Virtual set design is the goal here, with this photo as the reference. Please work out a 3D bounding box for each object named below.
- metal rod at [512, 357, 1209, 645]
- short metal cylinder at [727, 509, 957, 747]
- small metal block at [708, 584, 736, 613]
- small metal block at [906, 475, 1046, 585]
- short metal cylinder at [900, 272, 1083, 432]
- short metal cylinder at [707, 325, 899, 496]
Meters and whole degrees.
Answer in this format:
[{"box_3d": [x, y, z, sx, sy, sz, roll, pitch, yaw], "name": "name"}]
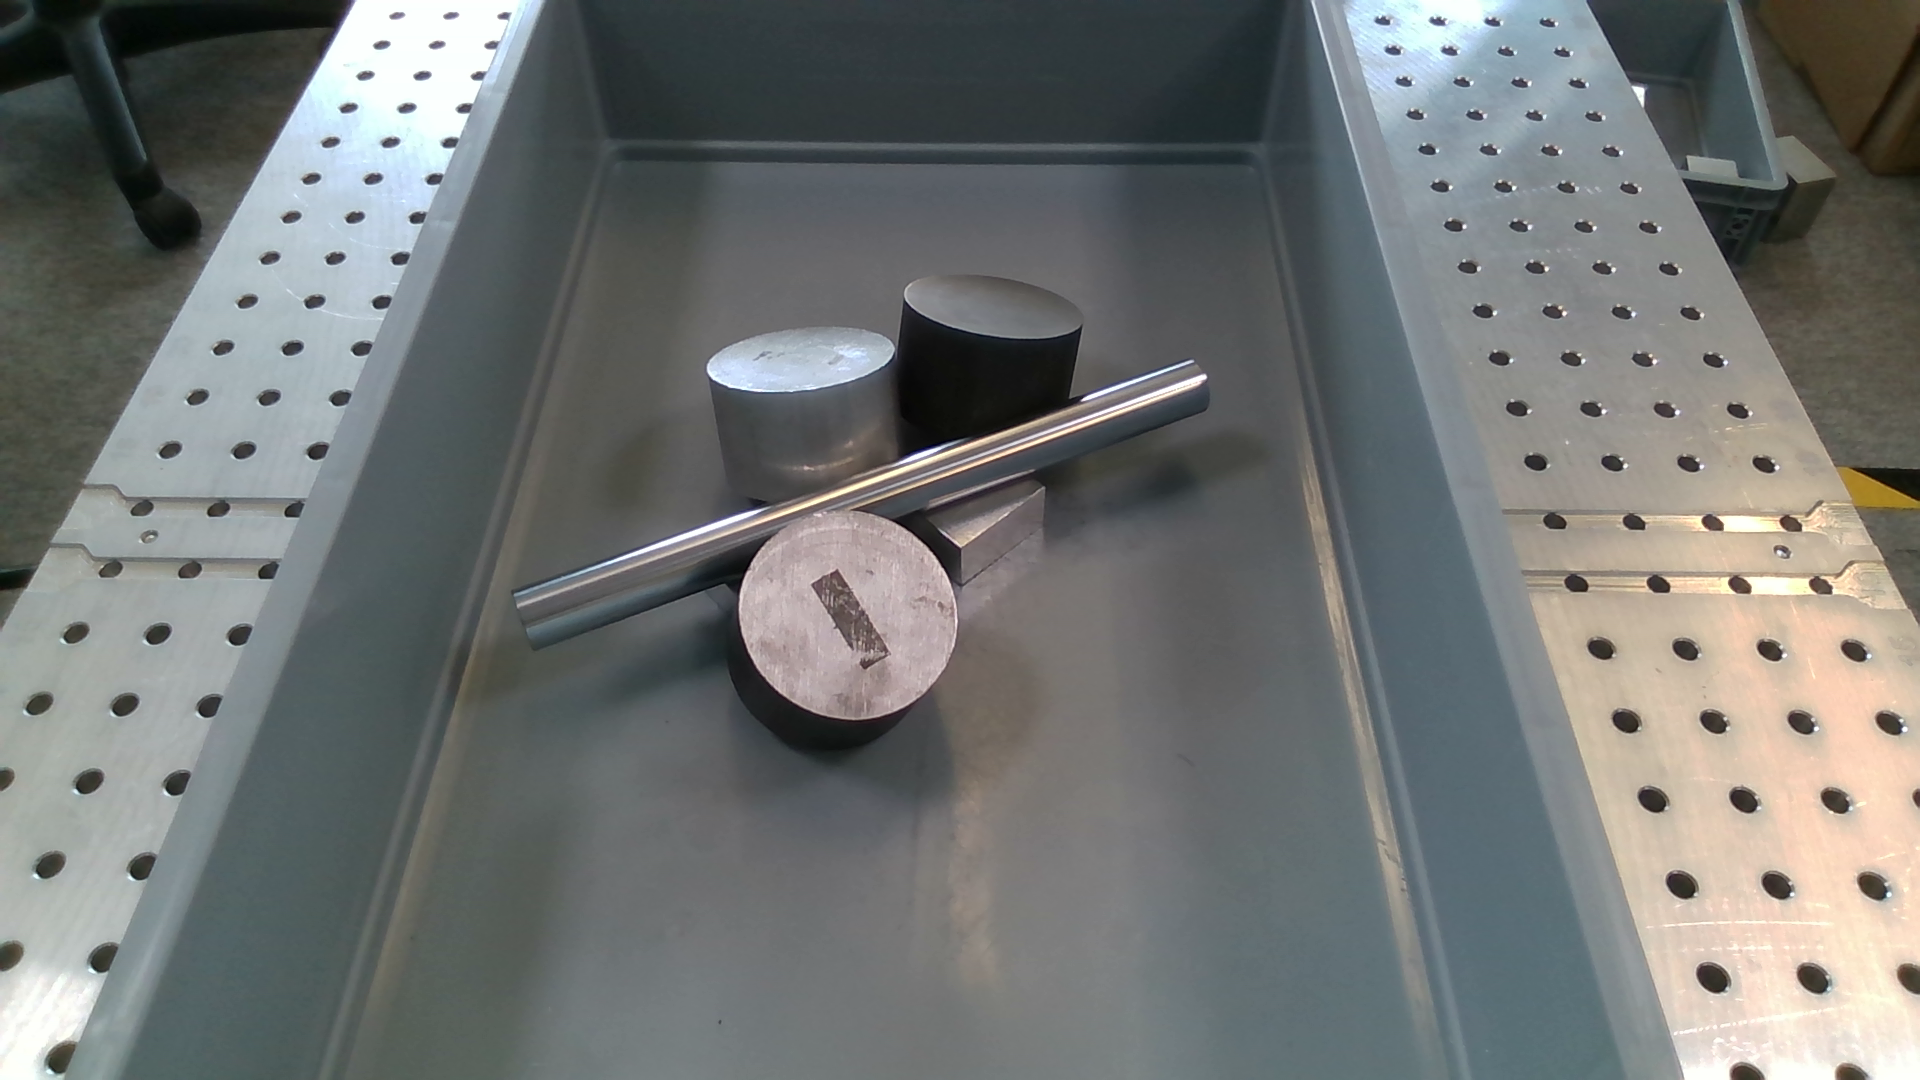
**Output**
[{"box_3d": [-0.032, -0.020, 0.569, 0.300, 0.025, 0.025, -20, 53, -16], "name": "metal rod"}, {"box_3d": [-0.046, 0.034, 0.524, 0.080, 0.050, 0.080, 5, 68, -14], "name": "short metal cylinder"}, {"box_3d": [-0.076, 0.013, 0.575, 0.050, 0.025, 0.050, -33, 58, -25], "name": "small metal block"}, {"box_3d": [0.001, -0.016, 0.599, 0.050, 0.025, 0.050, -36, 59, -26], "name": "small metal block"}, {"box_3d": [0.011, -0.083, 0.621, 0.080, 0.050, 0.080, 7, 29, -4], "name": "short metal cylinder"}, {"box_3d": [-0.066, -0.057, 0.599, 0.080, 0.050, 0.080, -3, 27, 2], "name": "short metal cylinder"}]
